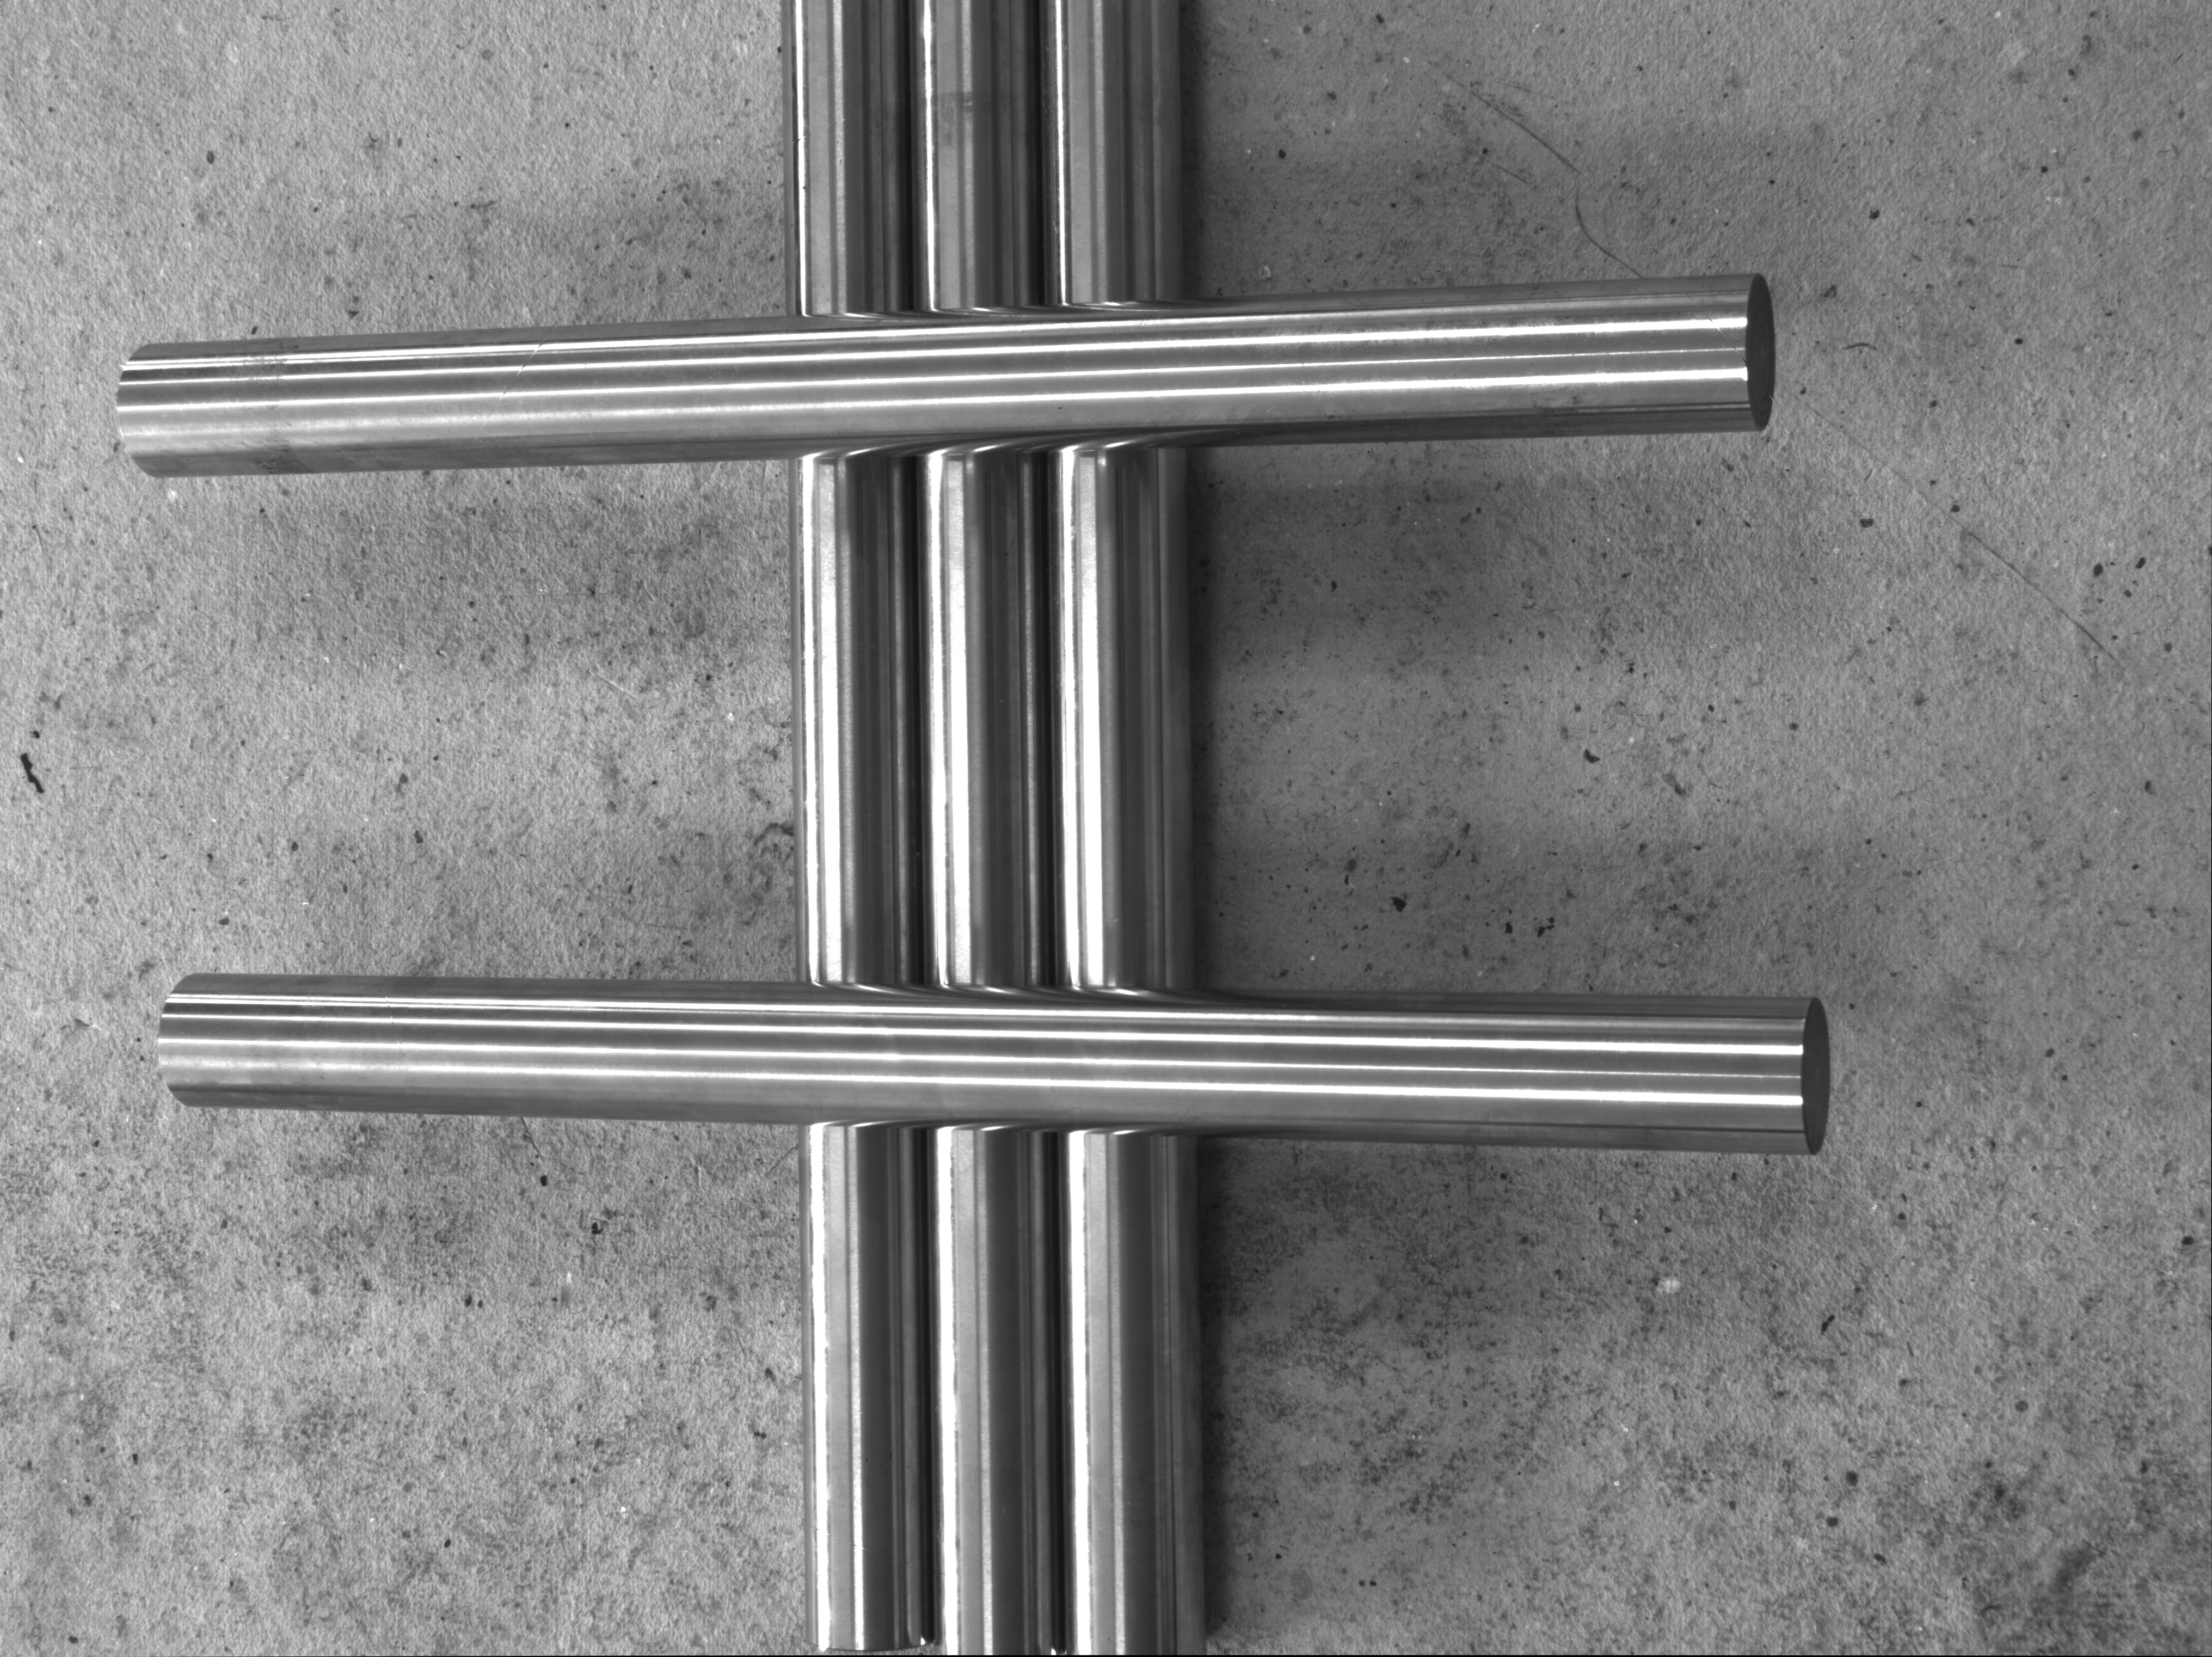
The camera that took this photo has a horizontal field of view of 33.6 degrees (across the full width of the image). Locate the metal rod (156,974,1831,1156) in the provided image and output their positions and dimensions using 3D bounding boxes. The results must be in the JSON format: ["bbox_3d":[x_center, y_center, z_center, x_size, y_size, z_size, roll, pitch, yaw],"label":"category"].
[{"bbox_3d":[-0.028,0.039,0.630,0.299,0.025,0.025,0,90,20],"label":"metal rod"}]

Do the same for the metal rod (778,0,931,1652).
[{"bbox_3d":[-0.044,-0.004,0.662,0.025,0.025,0.300,-1,90,20],"label":"metal rod"}]

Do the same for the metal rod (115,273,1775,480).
[{"bbox_3d":[-0.037,-0.077,0.633,0.299,0.025,0.025,0,90,20],"label":"metal rod"}]

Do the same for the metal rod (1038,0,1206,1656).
[{"bbox_3d":[0.003,-0.004,0.645,0.025,0.025,0.300,-1,90,20],"label":"metal rod"}]

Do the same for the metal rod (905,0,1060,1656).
[{"bbox_3d":[-0.021,-0.004,0.654,0.025,0.025,0.300,-1,90,20],"label":"metal rod"}]
